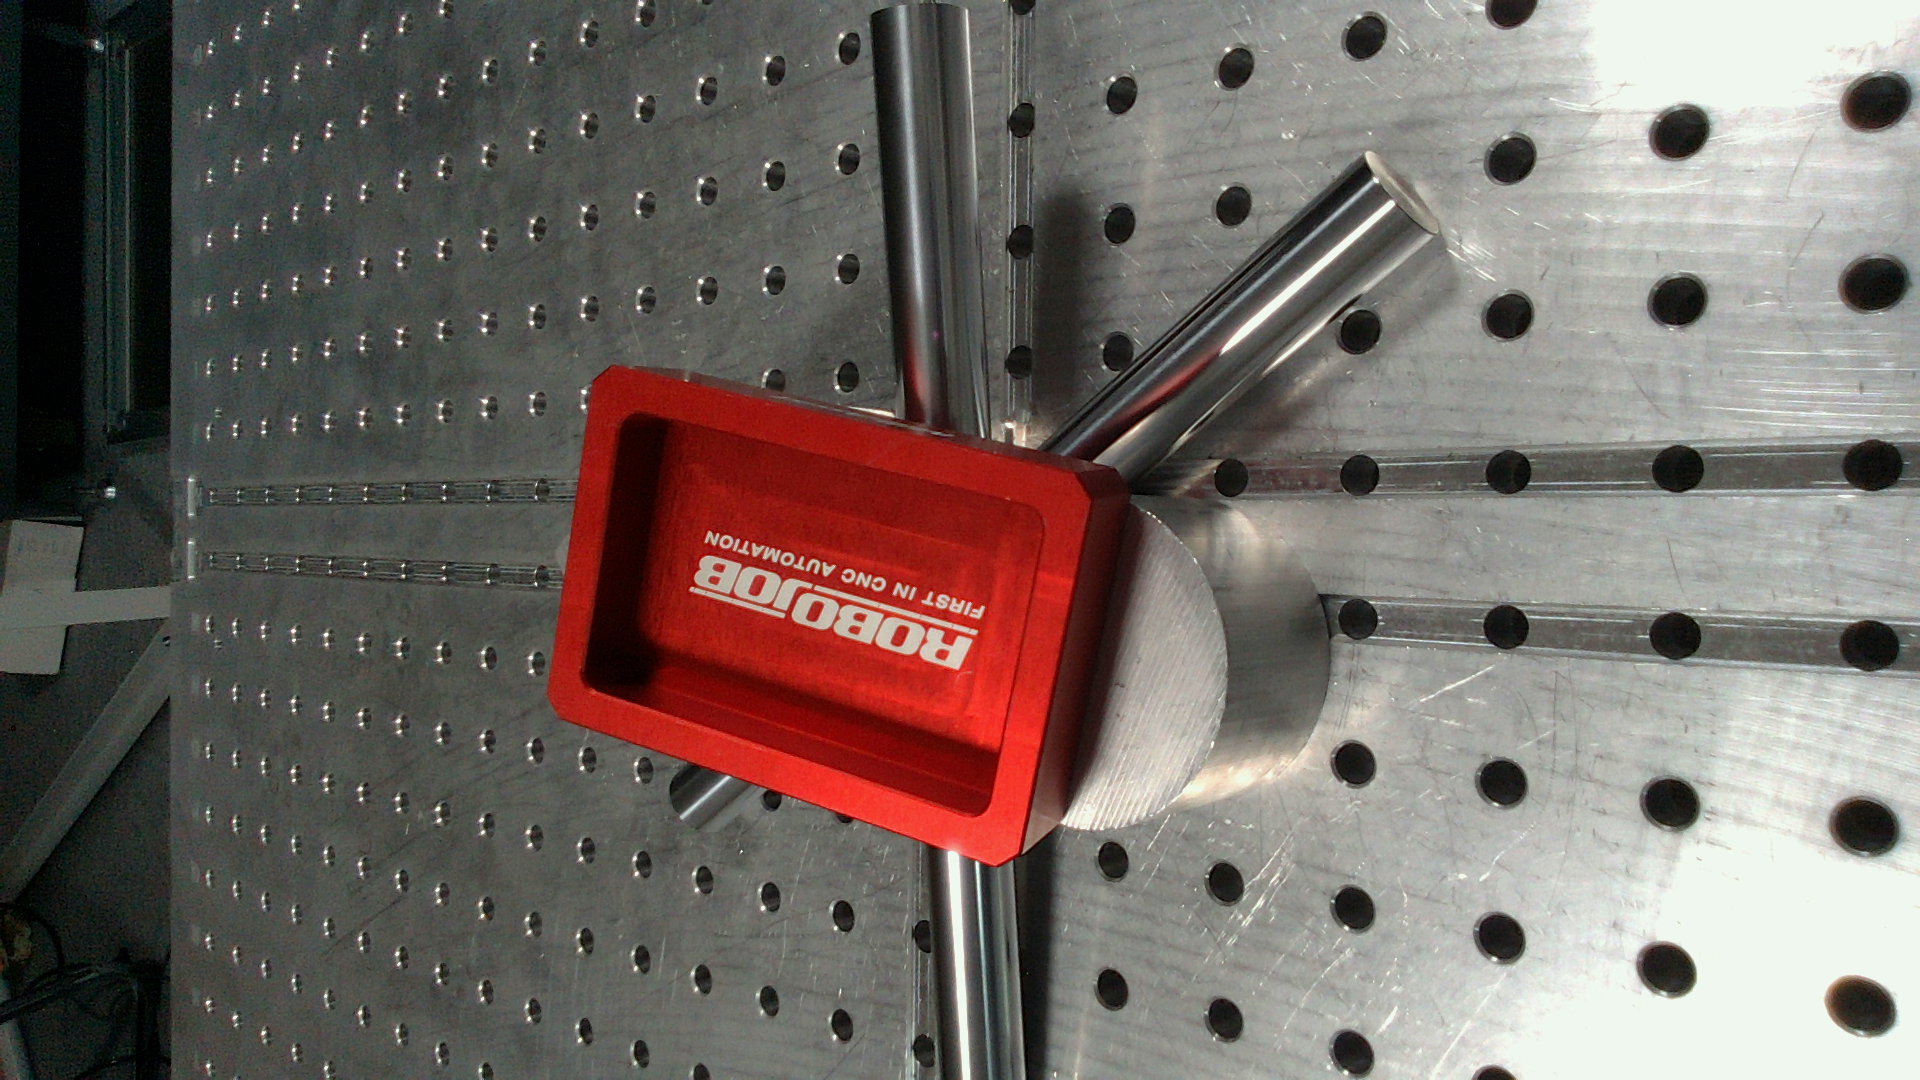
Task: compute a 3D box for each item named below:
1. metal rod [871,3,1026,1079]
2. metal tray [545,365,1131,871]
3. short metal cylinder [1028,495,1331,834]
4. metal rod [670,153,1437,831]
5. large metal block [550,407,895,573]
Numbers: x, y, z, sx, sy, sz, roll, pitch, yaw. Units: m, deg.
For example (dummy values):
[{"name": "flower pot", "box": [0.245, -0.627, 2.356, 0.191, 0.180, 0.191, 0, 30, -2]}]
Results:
[{"name": "metal rod", "box": [-0.001, 0.016, 0.369, 0.025, 0.025, 0.300, 5, 102, 40]}, {"name": "metal tray", "box": [-0.033, 0.014, 0.329, 0.130, 0.030, 0.090, 14, 100, 20]}, {"name": "short metal cylinder", "box": [0.044, 0.029, 0.343, 0.080, 0.050, 0.080, 0, 90, 40]}, {"name": "metal rod", "box": [0.006, 0.005, 0.394, 0.299, 0.025, 0.025, -42, 65, 32]}, {"name": "large metal block", "box": [-0.061, 0.002, 0.412, 0.080, 0.080, 0.050, -42, 65, 32]}]
